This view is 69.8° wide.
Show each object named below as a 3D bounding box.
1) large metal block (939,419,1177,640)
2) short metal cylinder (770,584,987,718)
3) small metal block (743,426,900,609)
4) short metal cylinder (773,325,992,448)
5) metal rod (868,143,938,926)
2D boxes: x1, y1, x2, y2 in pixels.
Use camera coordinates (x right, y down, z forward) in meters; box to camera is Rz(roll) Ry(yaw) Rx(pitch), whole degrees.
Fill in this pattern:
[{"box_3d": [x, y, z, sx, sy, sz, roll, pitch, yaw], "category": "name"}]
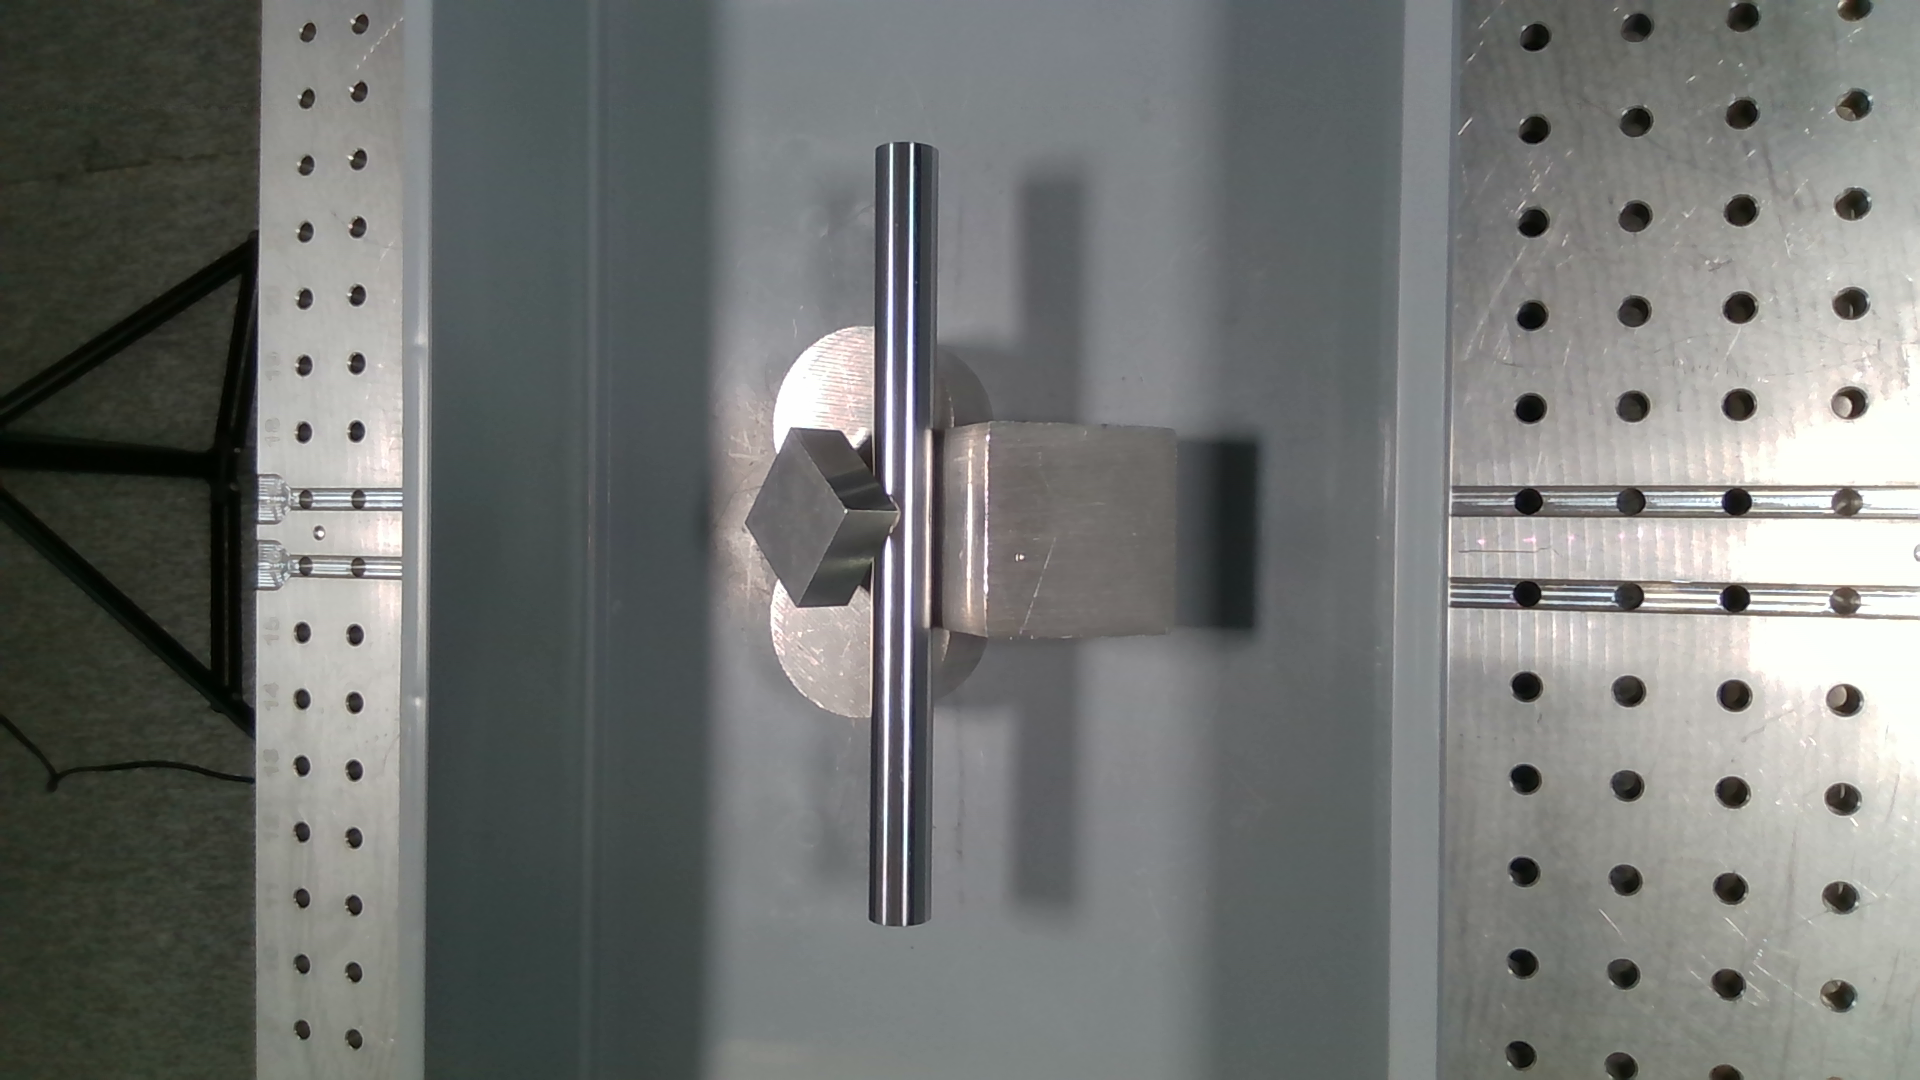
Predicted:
[{"box_3d": [0.036, -0.004, 0.536, 0.080, 0.050, 0.080, 1, 91, -23], "category": "large metal block"}, {"box_3d": [-0.033, 0.033, 0.584, 0.080, 0.050, 0.080, 0, 90, 20], "category": "short metal cylinder"}, {"box_3d": [-0.055, -0.009, 0.540, 0.050, 0.025, 0.050, 53, 127, 34], "category": "small metal block"}, {"box_3d": [-0.032, -0.047, 0.583, 0.080, 0.050, 0.080, 0, 90, 20], "category": "short metal cylinder"}, {"box_3d": [-0.023, -0.002, 0.540, 0.025, 0.025, 0.300, 1, 91, 20], "category": "metal rod"}]
